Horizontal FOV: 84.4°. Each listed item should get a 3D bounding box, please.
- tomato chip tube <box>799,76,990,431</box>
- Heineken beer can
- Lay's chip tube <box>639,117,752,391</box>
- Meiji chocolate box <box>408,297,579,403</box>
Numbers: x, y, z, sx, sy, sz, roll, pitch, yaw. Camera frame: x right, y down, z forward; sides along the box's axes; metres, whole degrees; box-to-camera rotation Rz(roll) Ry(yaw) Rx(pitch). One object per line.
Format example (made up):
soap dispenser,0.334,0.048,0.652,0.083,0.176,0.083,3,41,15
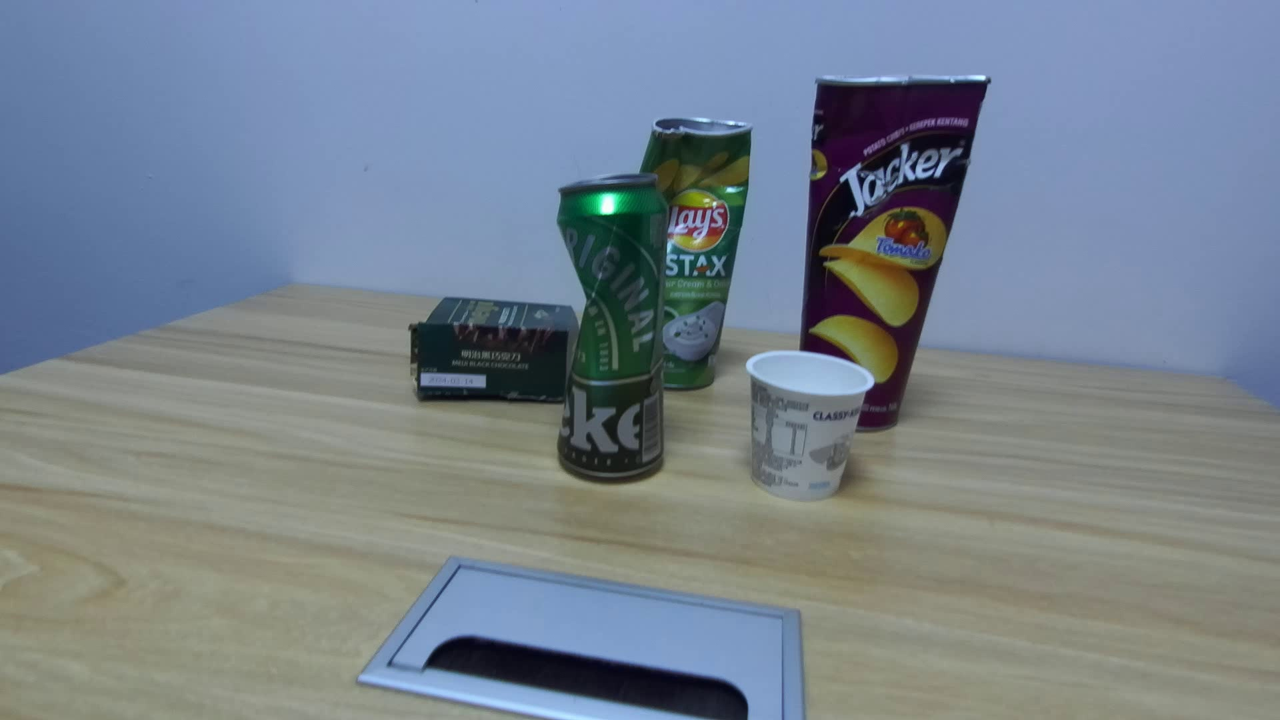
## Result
tomato chip tube,0.158,-0.072,0.491,0.078,0.236,0.090,-1,22,-8
Heineken beer can,-0.017,-0.016,0.409,0.069,0.168,0.069,-13,19,-38
Lay's chip tube,0.034,-0.081,0.548,0.069,0.201,0.077,17,25,36
Meiji chocolate box,-0.111,-0.012,0.556,0.123,0.058,0.115,2,16,-6
